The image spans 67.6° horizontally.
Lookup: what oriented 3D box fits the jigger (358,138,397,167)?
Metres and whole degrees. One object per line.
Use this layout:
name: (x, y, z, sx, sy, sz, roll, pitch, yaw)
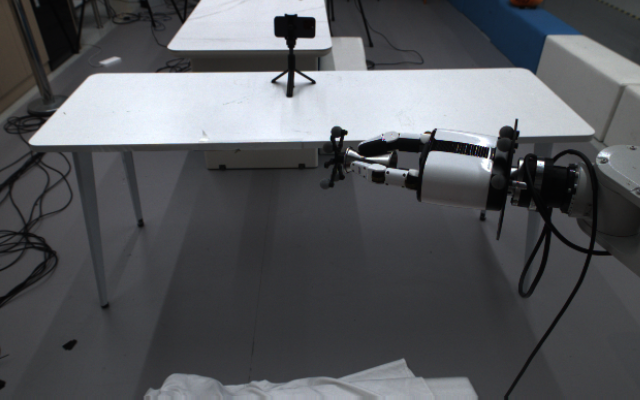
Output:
jigger: (0.078, -0.056, 0.695, 0.071, 0.043, 0.043, 10, 35, 22)
